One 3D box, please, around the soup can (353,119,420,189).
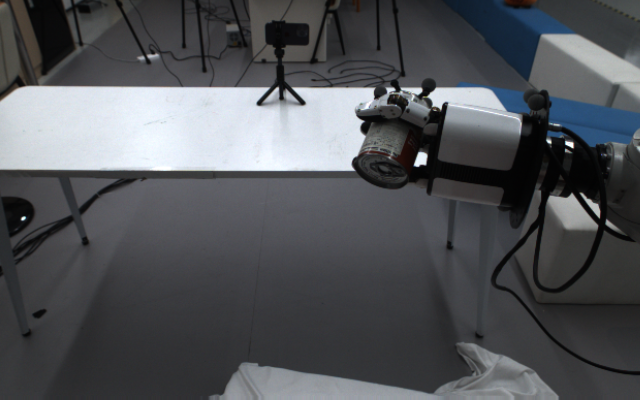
[{"bbox_3d":[0.090,-0.076,0.590,0.067,0.067,0.101,15,63,18],"label":"soup can"}]
